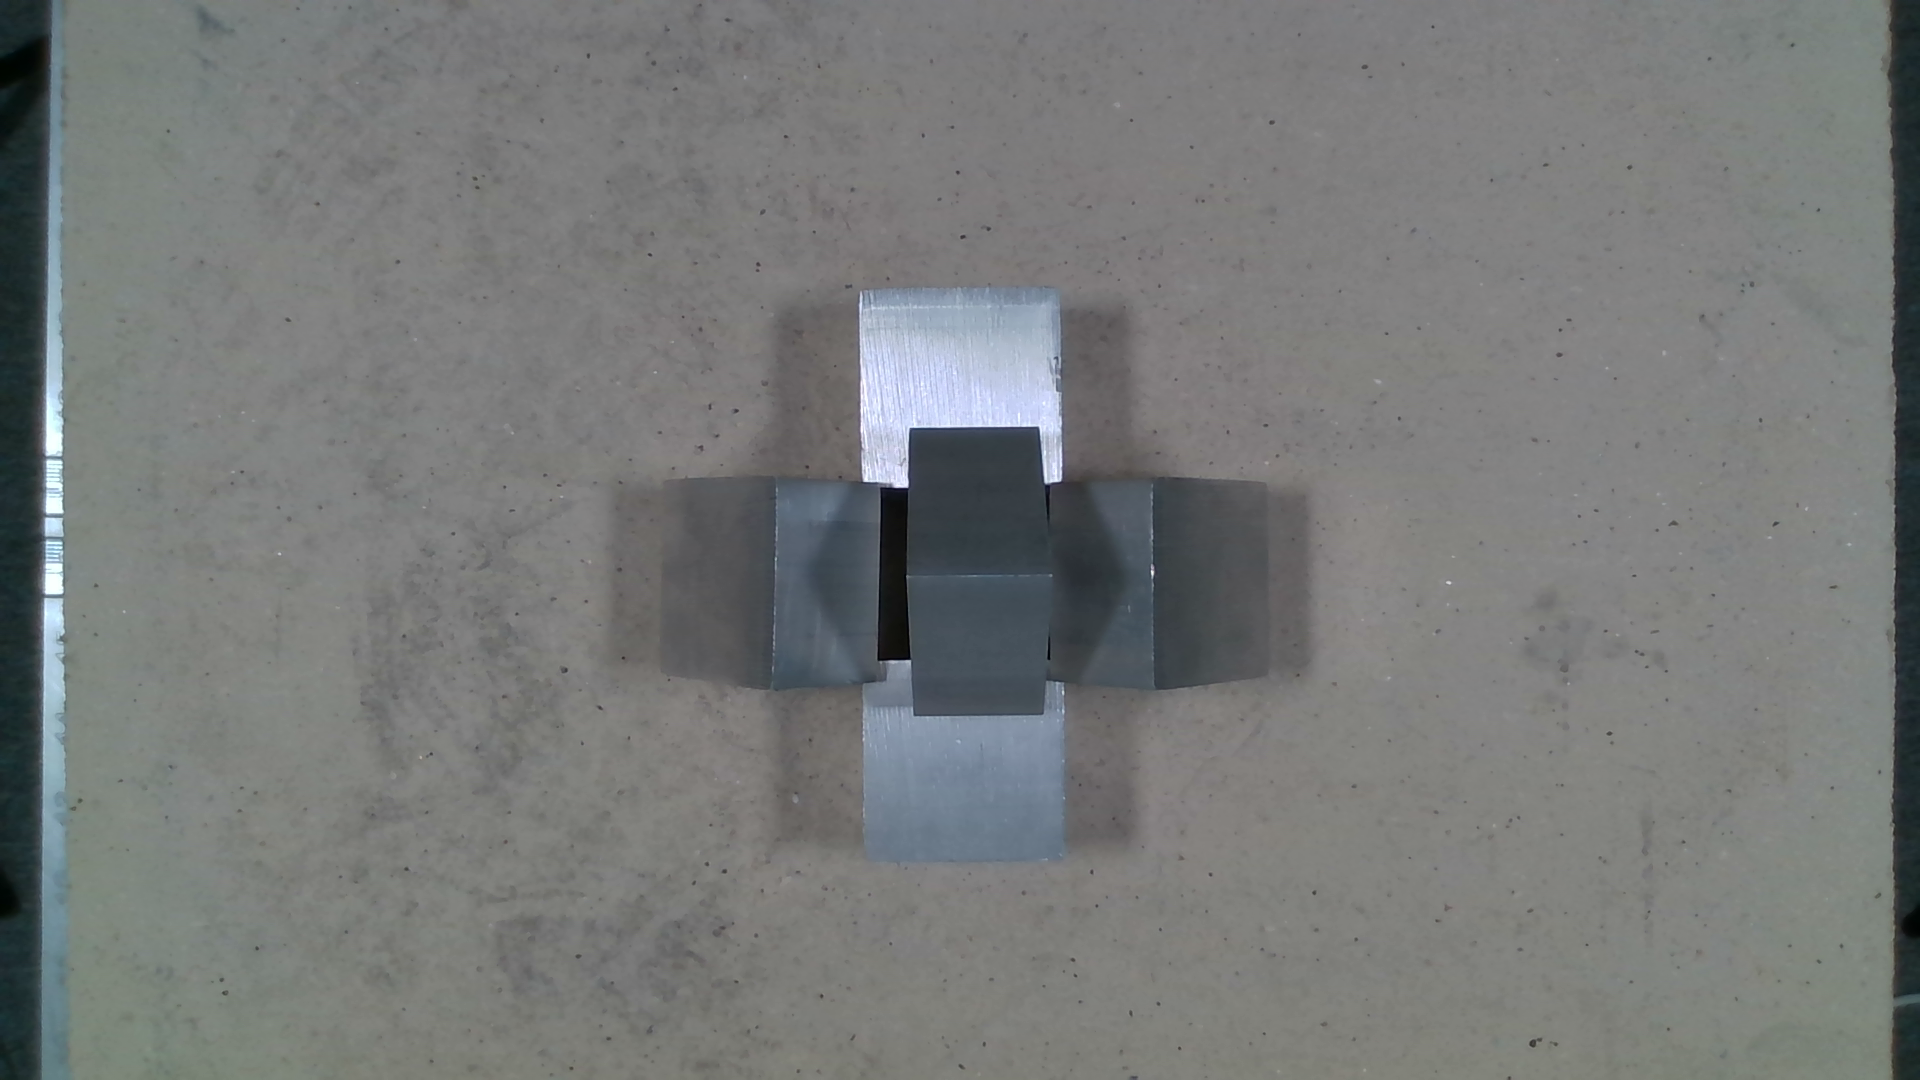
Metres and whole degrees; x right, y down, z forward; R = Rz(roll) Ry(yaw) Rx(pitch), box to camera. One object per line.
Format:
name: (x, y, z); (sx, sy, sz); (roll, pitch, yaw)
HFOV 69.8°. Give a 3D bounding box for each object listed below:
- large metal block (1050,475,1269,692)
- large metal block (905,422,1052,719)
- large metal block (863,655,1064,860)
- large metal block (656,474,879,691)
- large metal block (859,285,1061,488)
large metal block: (0.081, 0.016, 0.554); (0.050, 0.080, 0.080); (0, 90, 44)
large metal block: (0.006, 0.012, 0.527); (0.050, 0.080, 0.080); (-1, 46, 0)
large metal block: (0.001, 0.087, 0.573); (0.080, 0.050, 0.080); (0, 90, 0)
large metal block: (-0.078, 0.016, 0.554); (0.050, 0.080, 0.080); (2, 89, -43)
large metal block: (0.000, -0.061, 0.574); (0.080, 0.050, 0.080); (-1, 90, 0)
